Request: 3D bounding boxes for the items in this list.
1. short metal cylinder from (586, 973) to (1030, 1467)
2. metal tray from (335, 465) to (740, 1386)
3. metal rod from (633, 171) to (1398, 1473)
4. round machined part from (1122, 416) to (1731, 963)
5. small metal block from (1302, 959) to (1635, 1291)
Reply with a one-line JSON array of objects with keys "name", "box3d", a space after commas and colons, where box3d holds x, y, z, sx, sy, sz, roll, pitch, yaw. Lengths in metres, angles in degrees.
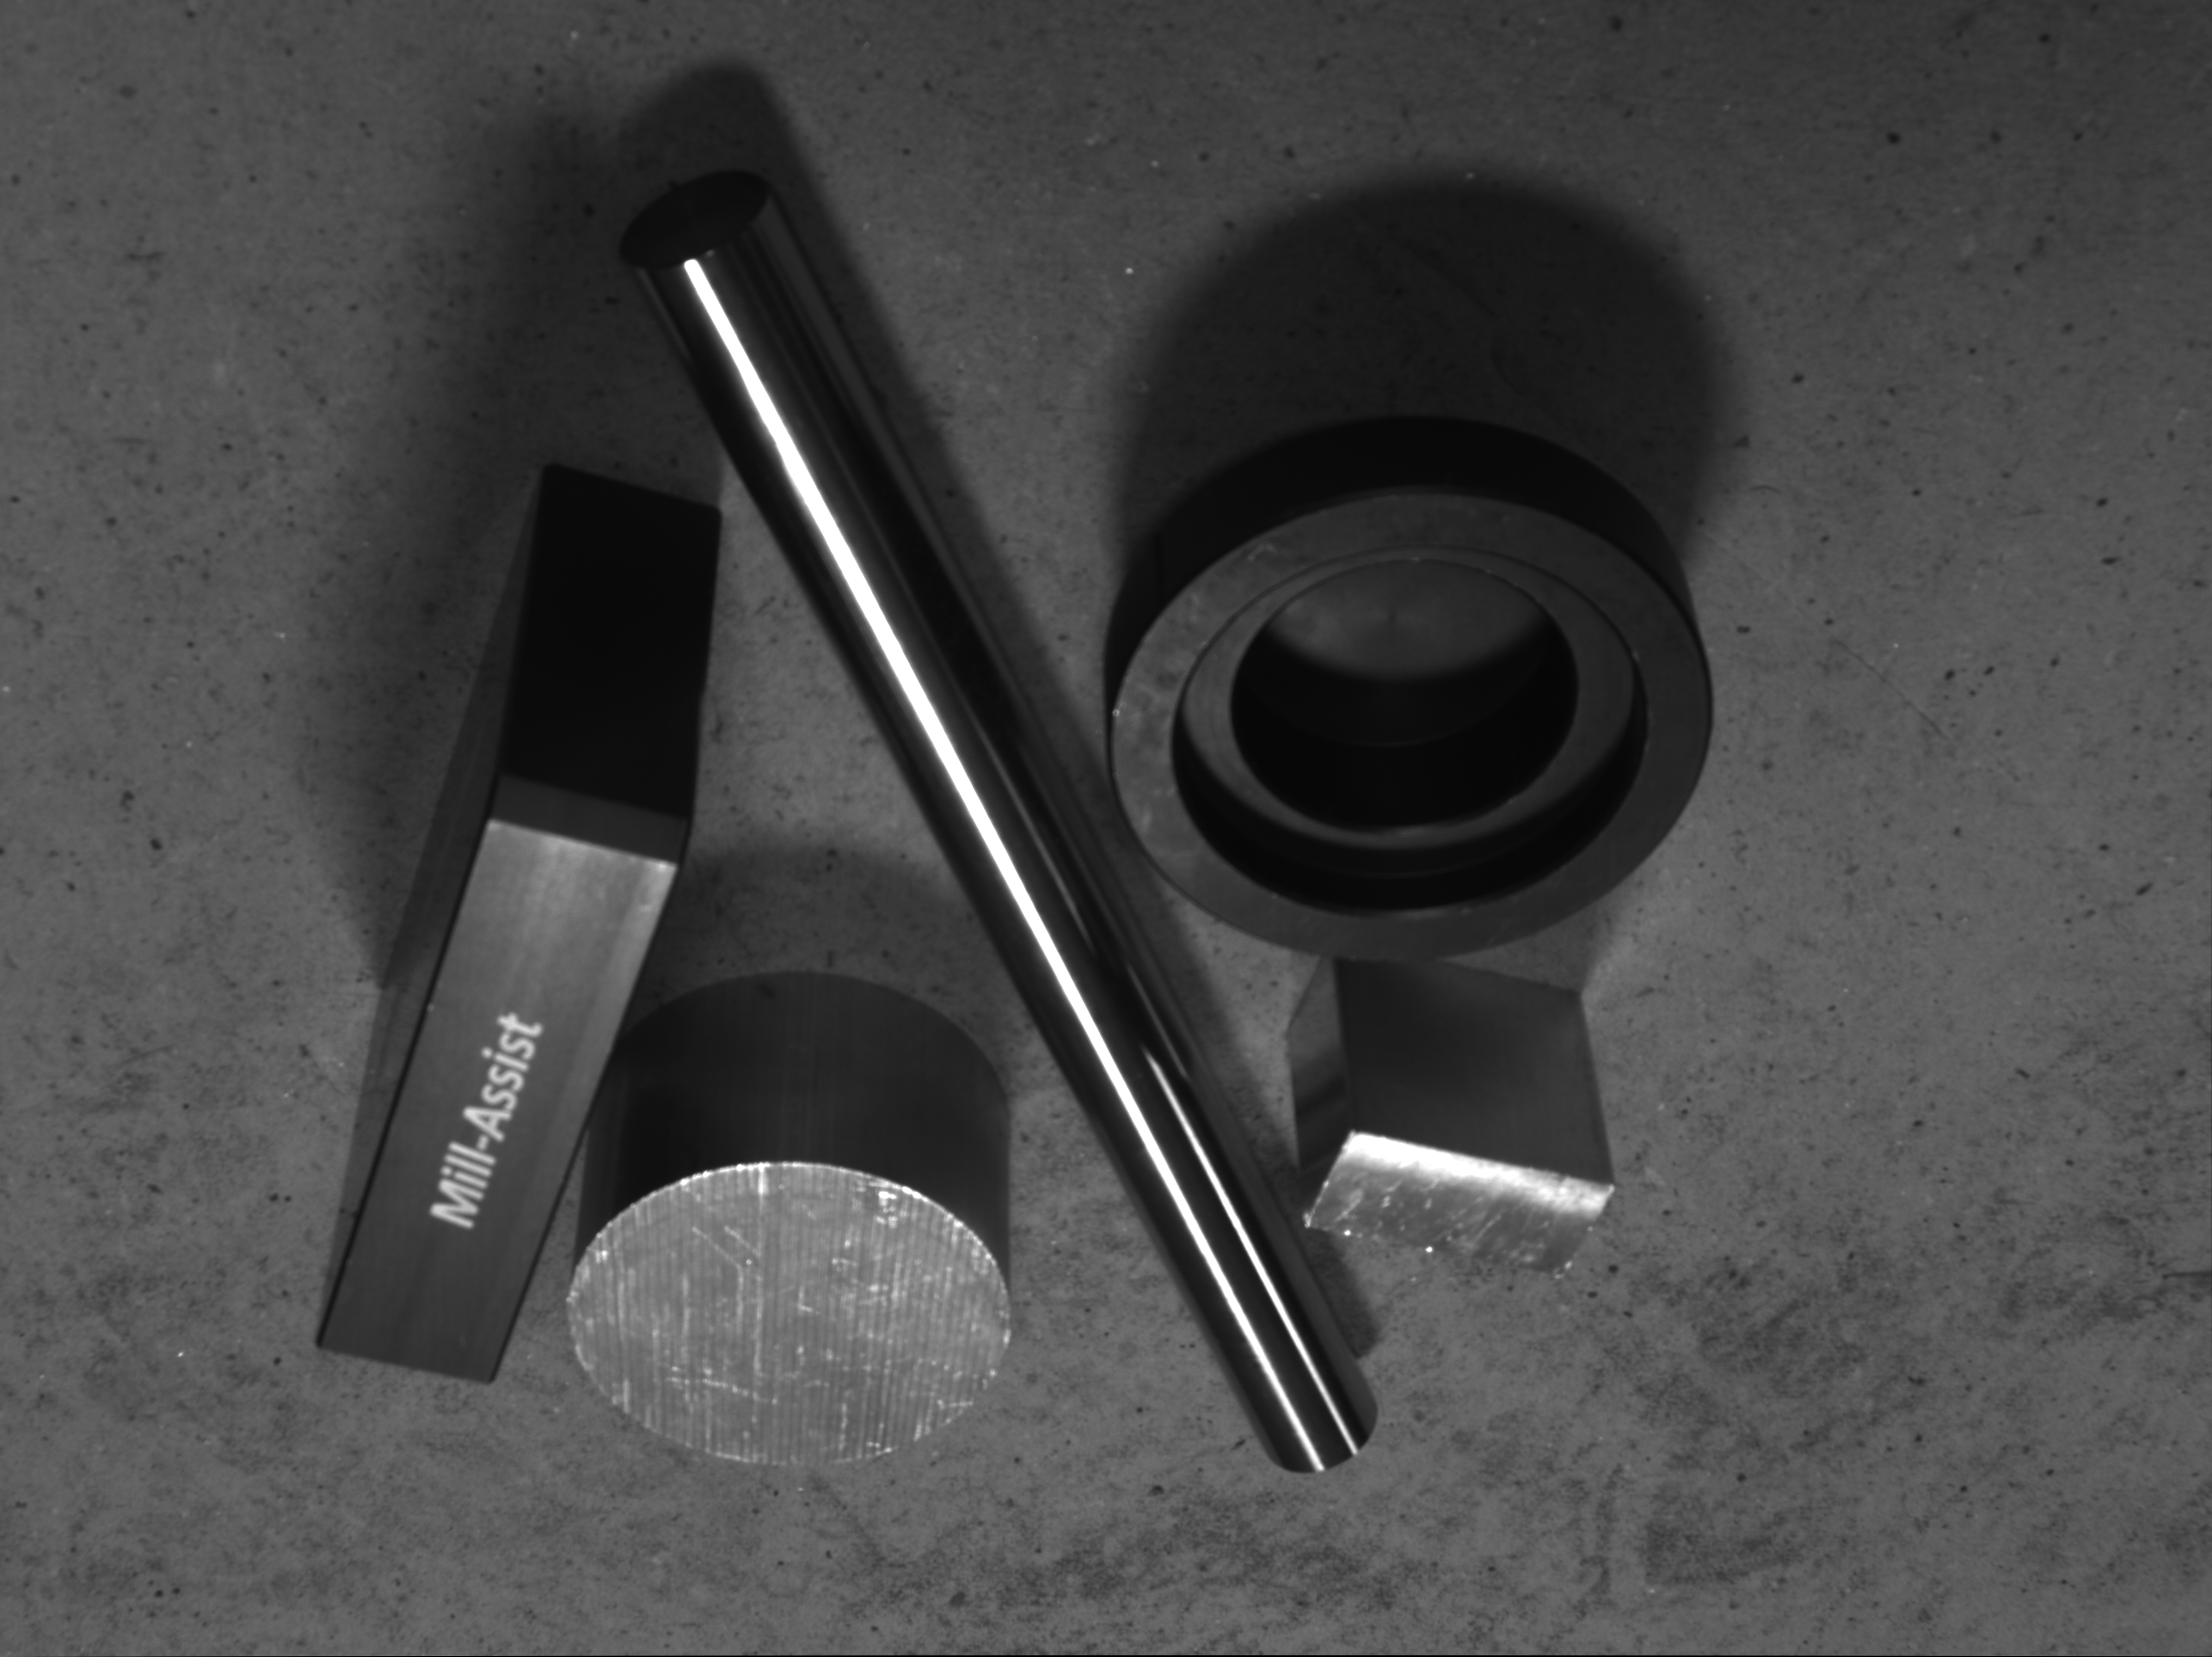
[{"name": "short metal cylinder", "box3d": [-0.054, 0.073, 0.682, 0.080, 0.050, 0.080, -1, 130, -1]}, {"name": "metal tray", "box3d": [-0.095, 0.017, 0.608, 0.030, 0.090, 0.130, 14, 128, -13]}, {"name": "metal rod", "box3d": [-0.007, 0.014, 0.651, 0.025, 0.025, 0.301, -17, 128, 12]}, {"name": "round machined part", "box3d": [0.051, -0.028, 0.606, 0.098, 0.042, 0.098, -1, 130, -1]}, {"name": "small metal block", "box3d": [0.065, 0.052, 0.665, 0.050, 0.050, 0.025, 13, 128, -12]}]
